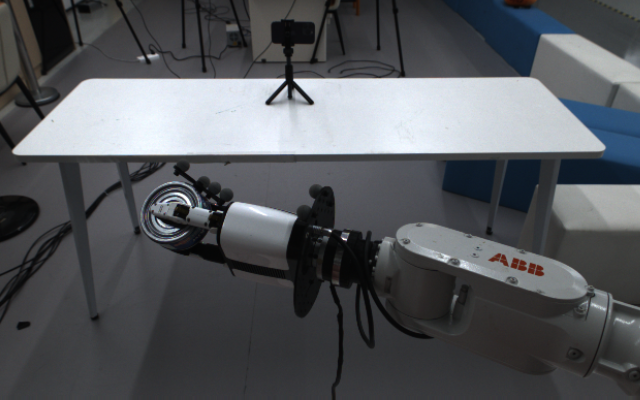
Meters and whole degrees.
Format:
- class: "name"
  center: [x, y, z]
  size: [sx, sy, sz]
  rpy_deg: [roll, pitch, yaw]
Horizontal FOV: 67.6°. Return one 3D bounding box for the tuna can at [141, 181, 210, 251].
- class: "tuna can"
  center: [-0.183, 0.020, 0.622]
  size: [0.085, 0.034, 0.085]
  rpy_deg: [-4, 69, 10]
